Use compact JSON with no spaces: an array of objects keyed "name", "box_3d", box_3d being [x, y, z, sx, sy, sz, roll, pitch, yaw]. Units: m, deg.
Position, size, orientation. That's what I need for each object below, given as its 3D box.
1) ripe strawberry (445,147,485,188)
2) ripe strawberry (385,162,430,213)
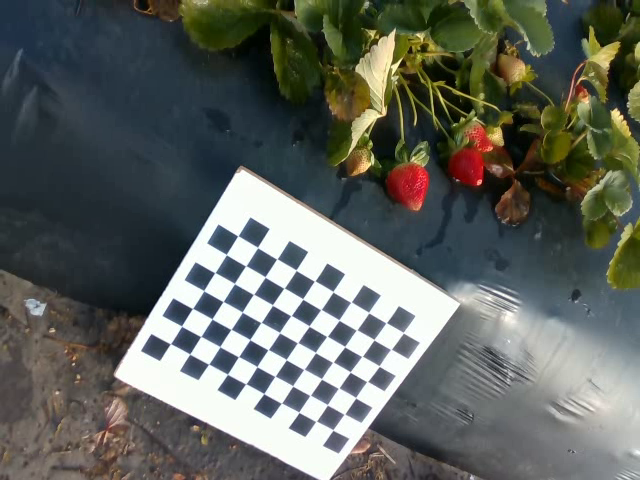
[{"name":"ripe strawberry","box_3d":[0.171,-0.080,0.712,0.044,0.055,0.042,-30,-34,6]},{"name":"ripe strawberry","box_3d":[0.099,-0.057,0.671,0.050,0.065,0.050,-7,-38,-1]}]
